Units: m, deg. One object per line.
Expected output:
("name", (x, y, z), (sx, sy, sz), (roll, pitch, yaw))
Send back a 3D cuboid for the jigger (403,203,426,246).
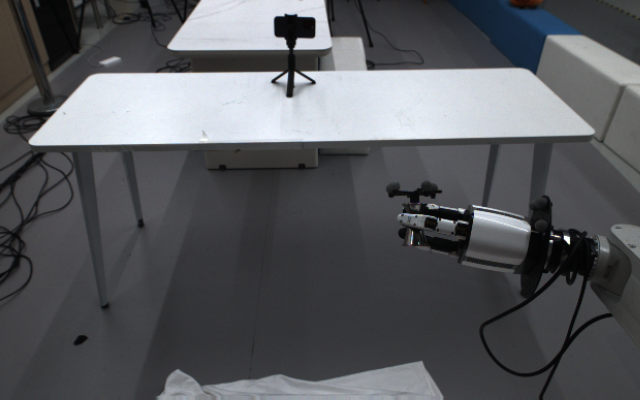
("jigger", (0.151, 0.038, 0.774), (0.043, 0.071, 0.043), (1, -5, 0))
